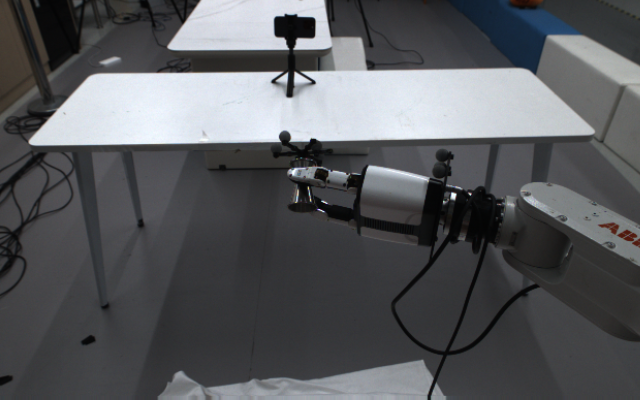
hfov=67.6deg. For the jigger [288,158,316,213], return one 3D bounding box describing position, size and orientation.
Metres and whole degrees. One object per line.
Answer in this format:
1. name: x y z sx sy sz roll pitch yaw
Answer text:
1. jigger: -0.025 -0.022 0.688 0.043 0.043 0.071 1 70 -2
